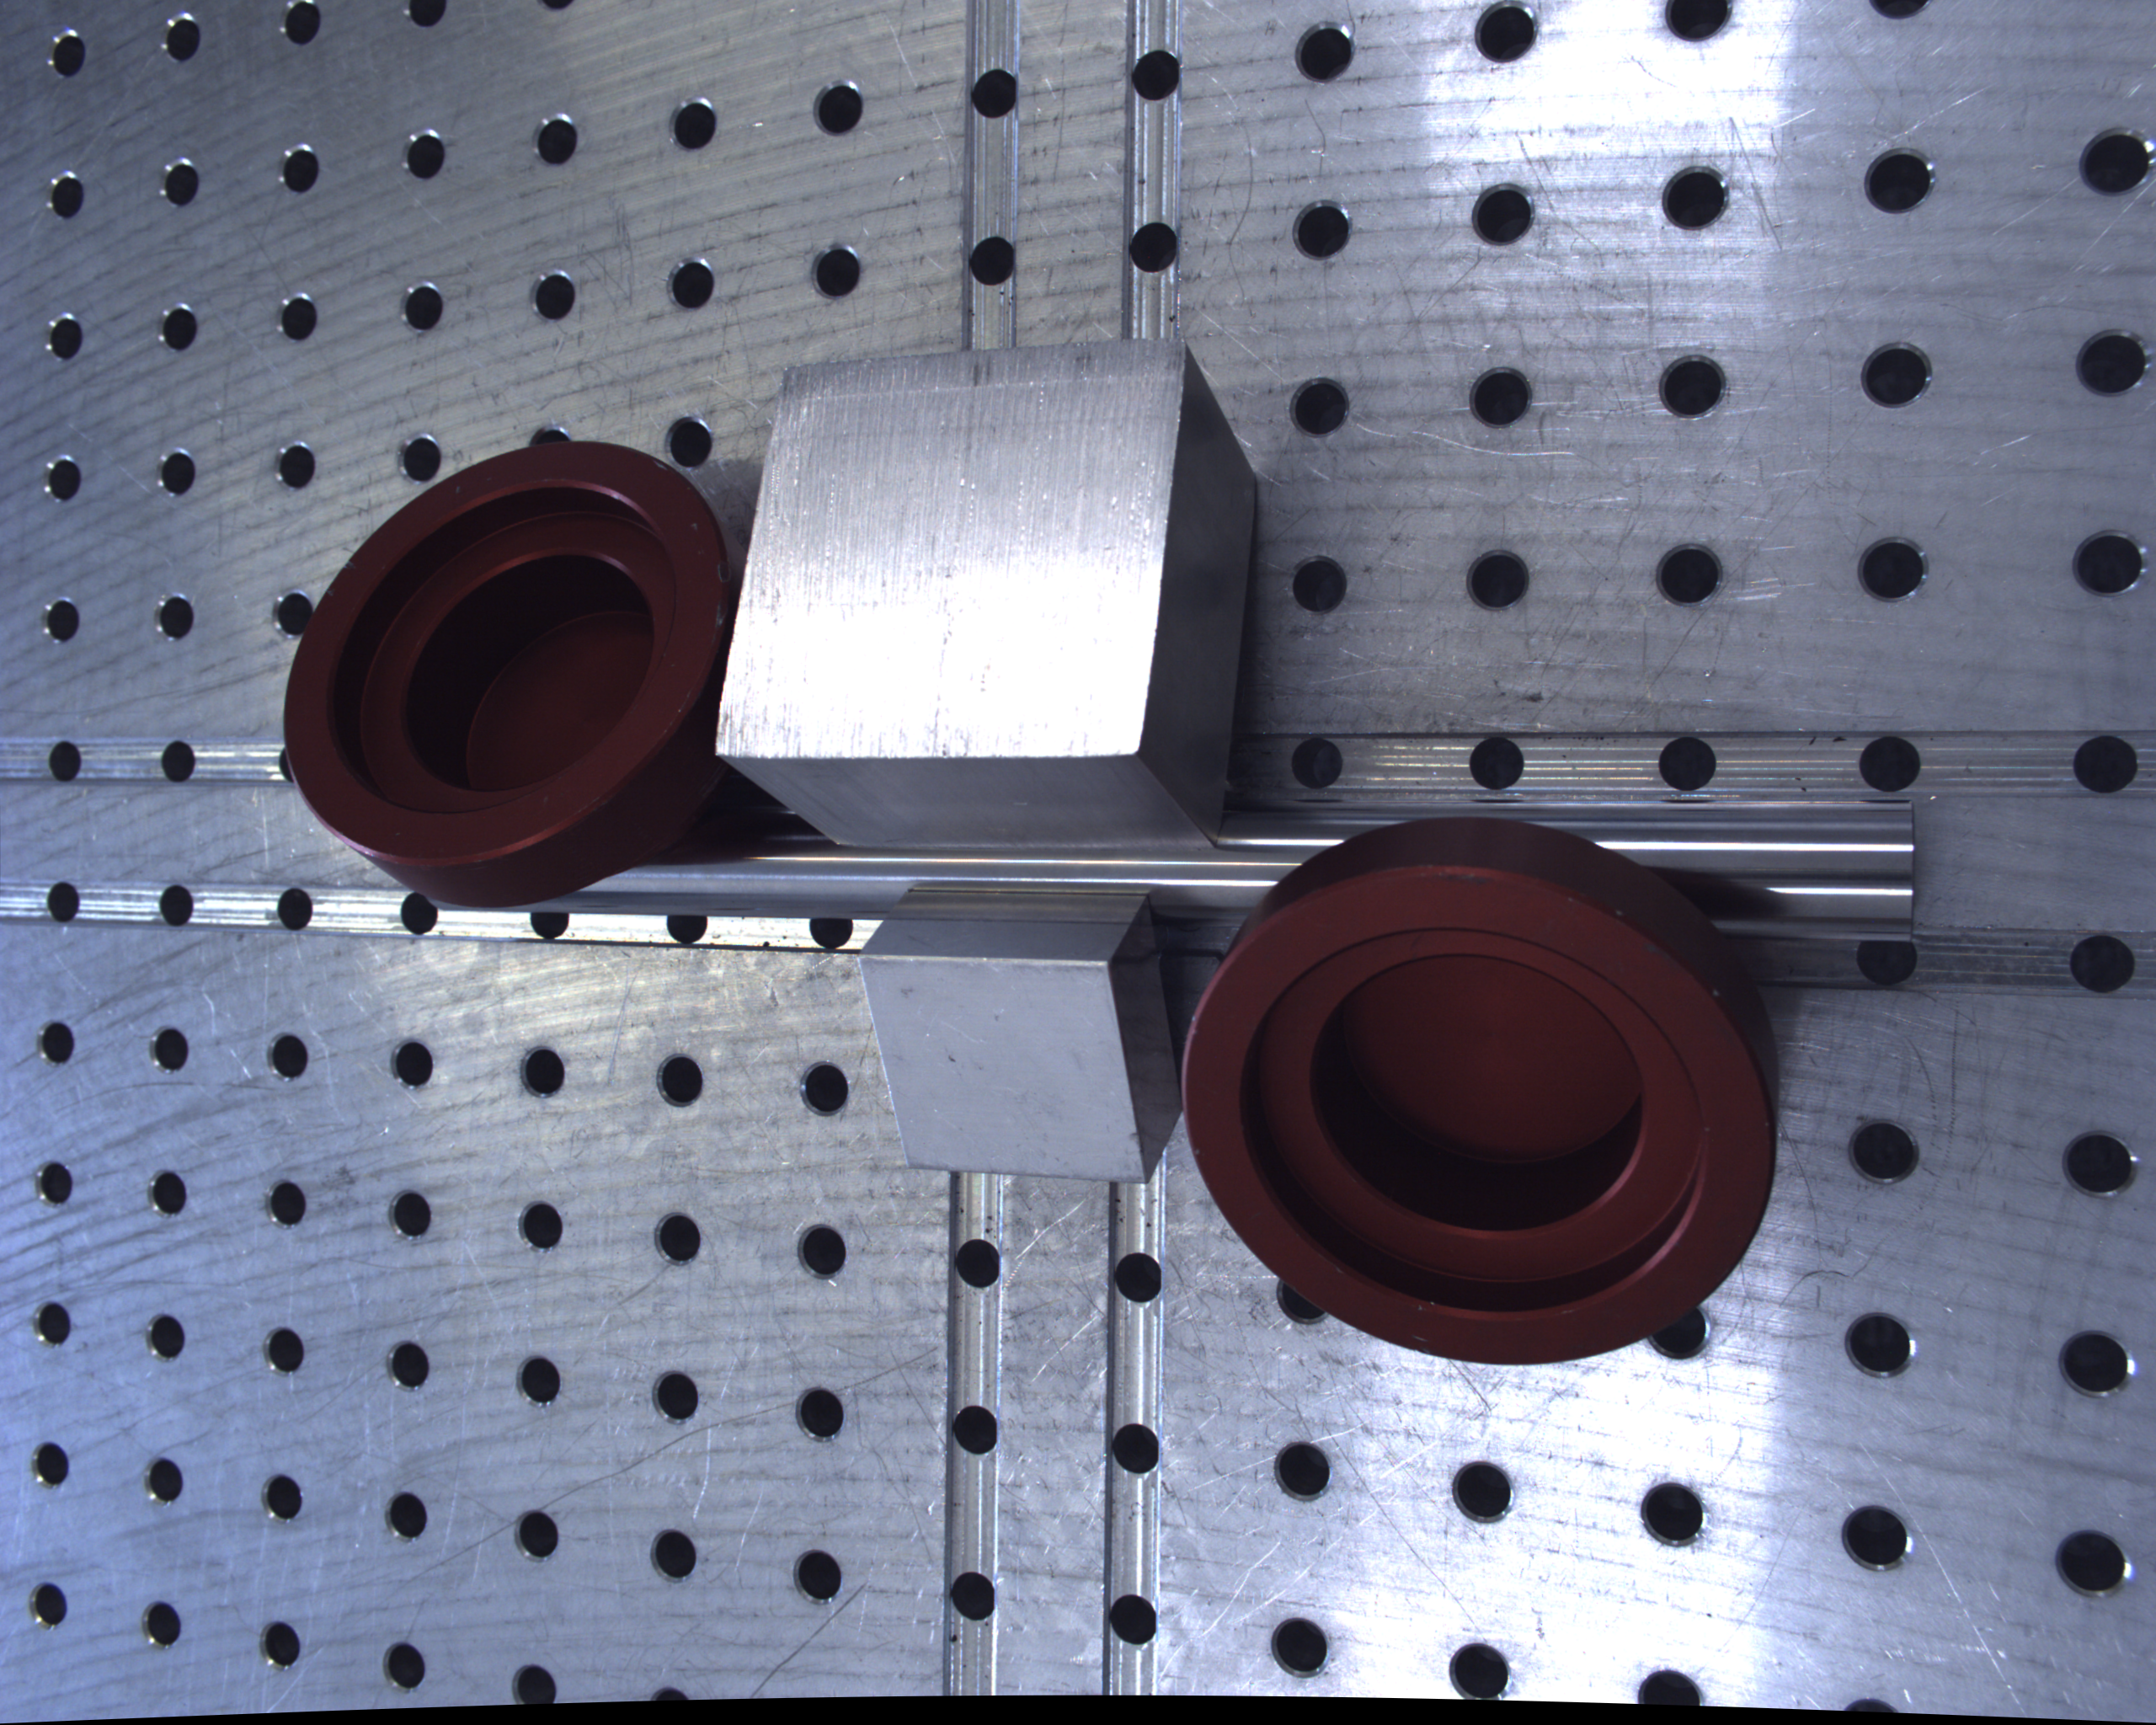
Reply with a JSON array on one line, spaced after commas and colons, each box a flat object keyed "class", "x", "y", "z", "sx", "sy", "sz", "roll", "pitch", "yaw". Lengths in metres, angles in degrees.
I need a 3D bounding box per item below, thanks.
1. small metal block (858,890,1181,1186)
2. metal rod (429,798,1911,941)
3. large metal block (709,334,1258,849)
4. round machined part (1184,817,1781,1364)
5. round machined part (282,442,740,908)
[{"class": "small metal block", "x": -0.010, "y": 0.034, "z": 0.406, "sx": 0.050, "sy": 0.025, "sz": 0.050, "roll": 1, "pitch": 119, "yaw": 20}, {"class": "metal rod", "x": 0.002, "y": 0.000, "z": 0.412, "sx": 0.301, "sy": 0.025, "sz": 0.025, "roll": 1, "pitch": 90, "yaw": 19}, {"class": "large metal block", "x": -0.015, "y": -0.049, "z": 0.393, "sx": 0.080, "sy": 0.050, "sz": 0.080, "roll": 1, "pitch": 72, "yaw": 20}, {"class": "round machined part", "x": 0.071, "y": 0.036, "z": 0.365, "sx": 0.098, "sy": 0.042, "sz": 0.097, "roll": 8, "pitch": 118, "yaw": 16}, {"class": "round machined part", "x": -0.108, "y": -0.035, "z": 0.428, "sx": 0.098, "sy": 0.042, "sz": 0.098, "roll": -8, "pitch": 62, "yaw": 15}]
